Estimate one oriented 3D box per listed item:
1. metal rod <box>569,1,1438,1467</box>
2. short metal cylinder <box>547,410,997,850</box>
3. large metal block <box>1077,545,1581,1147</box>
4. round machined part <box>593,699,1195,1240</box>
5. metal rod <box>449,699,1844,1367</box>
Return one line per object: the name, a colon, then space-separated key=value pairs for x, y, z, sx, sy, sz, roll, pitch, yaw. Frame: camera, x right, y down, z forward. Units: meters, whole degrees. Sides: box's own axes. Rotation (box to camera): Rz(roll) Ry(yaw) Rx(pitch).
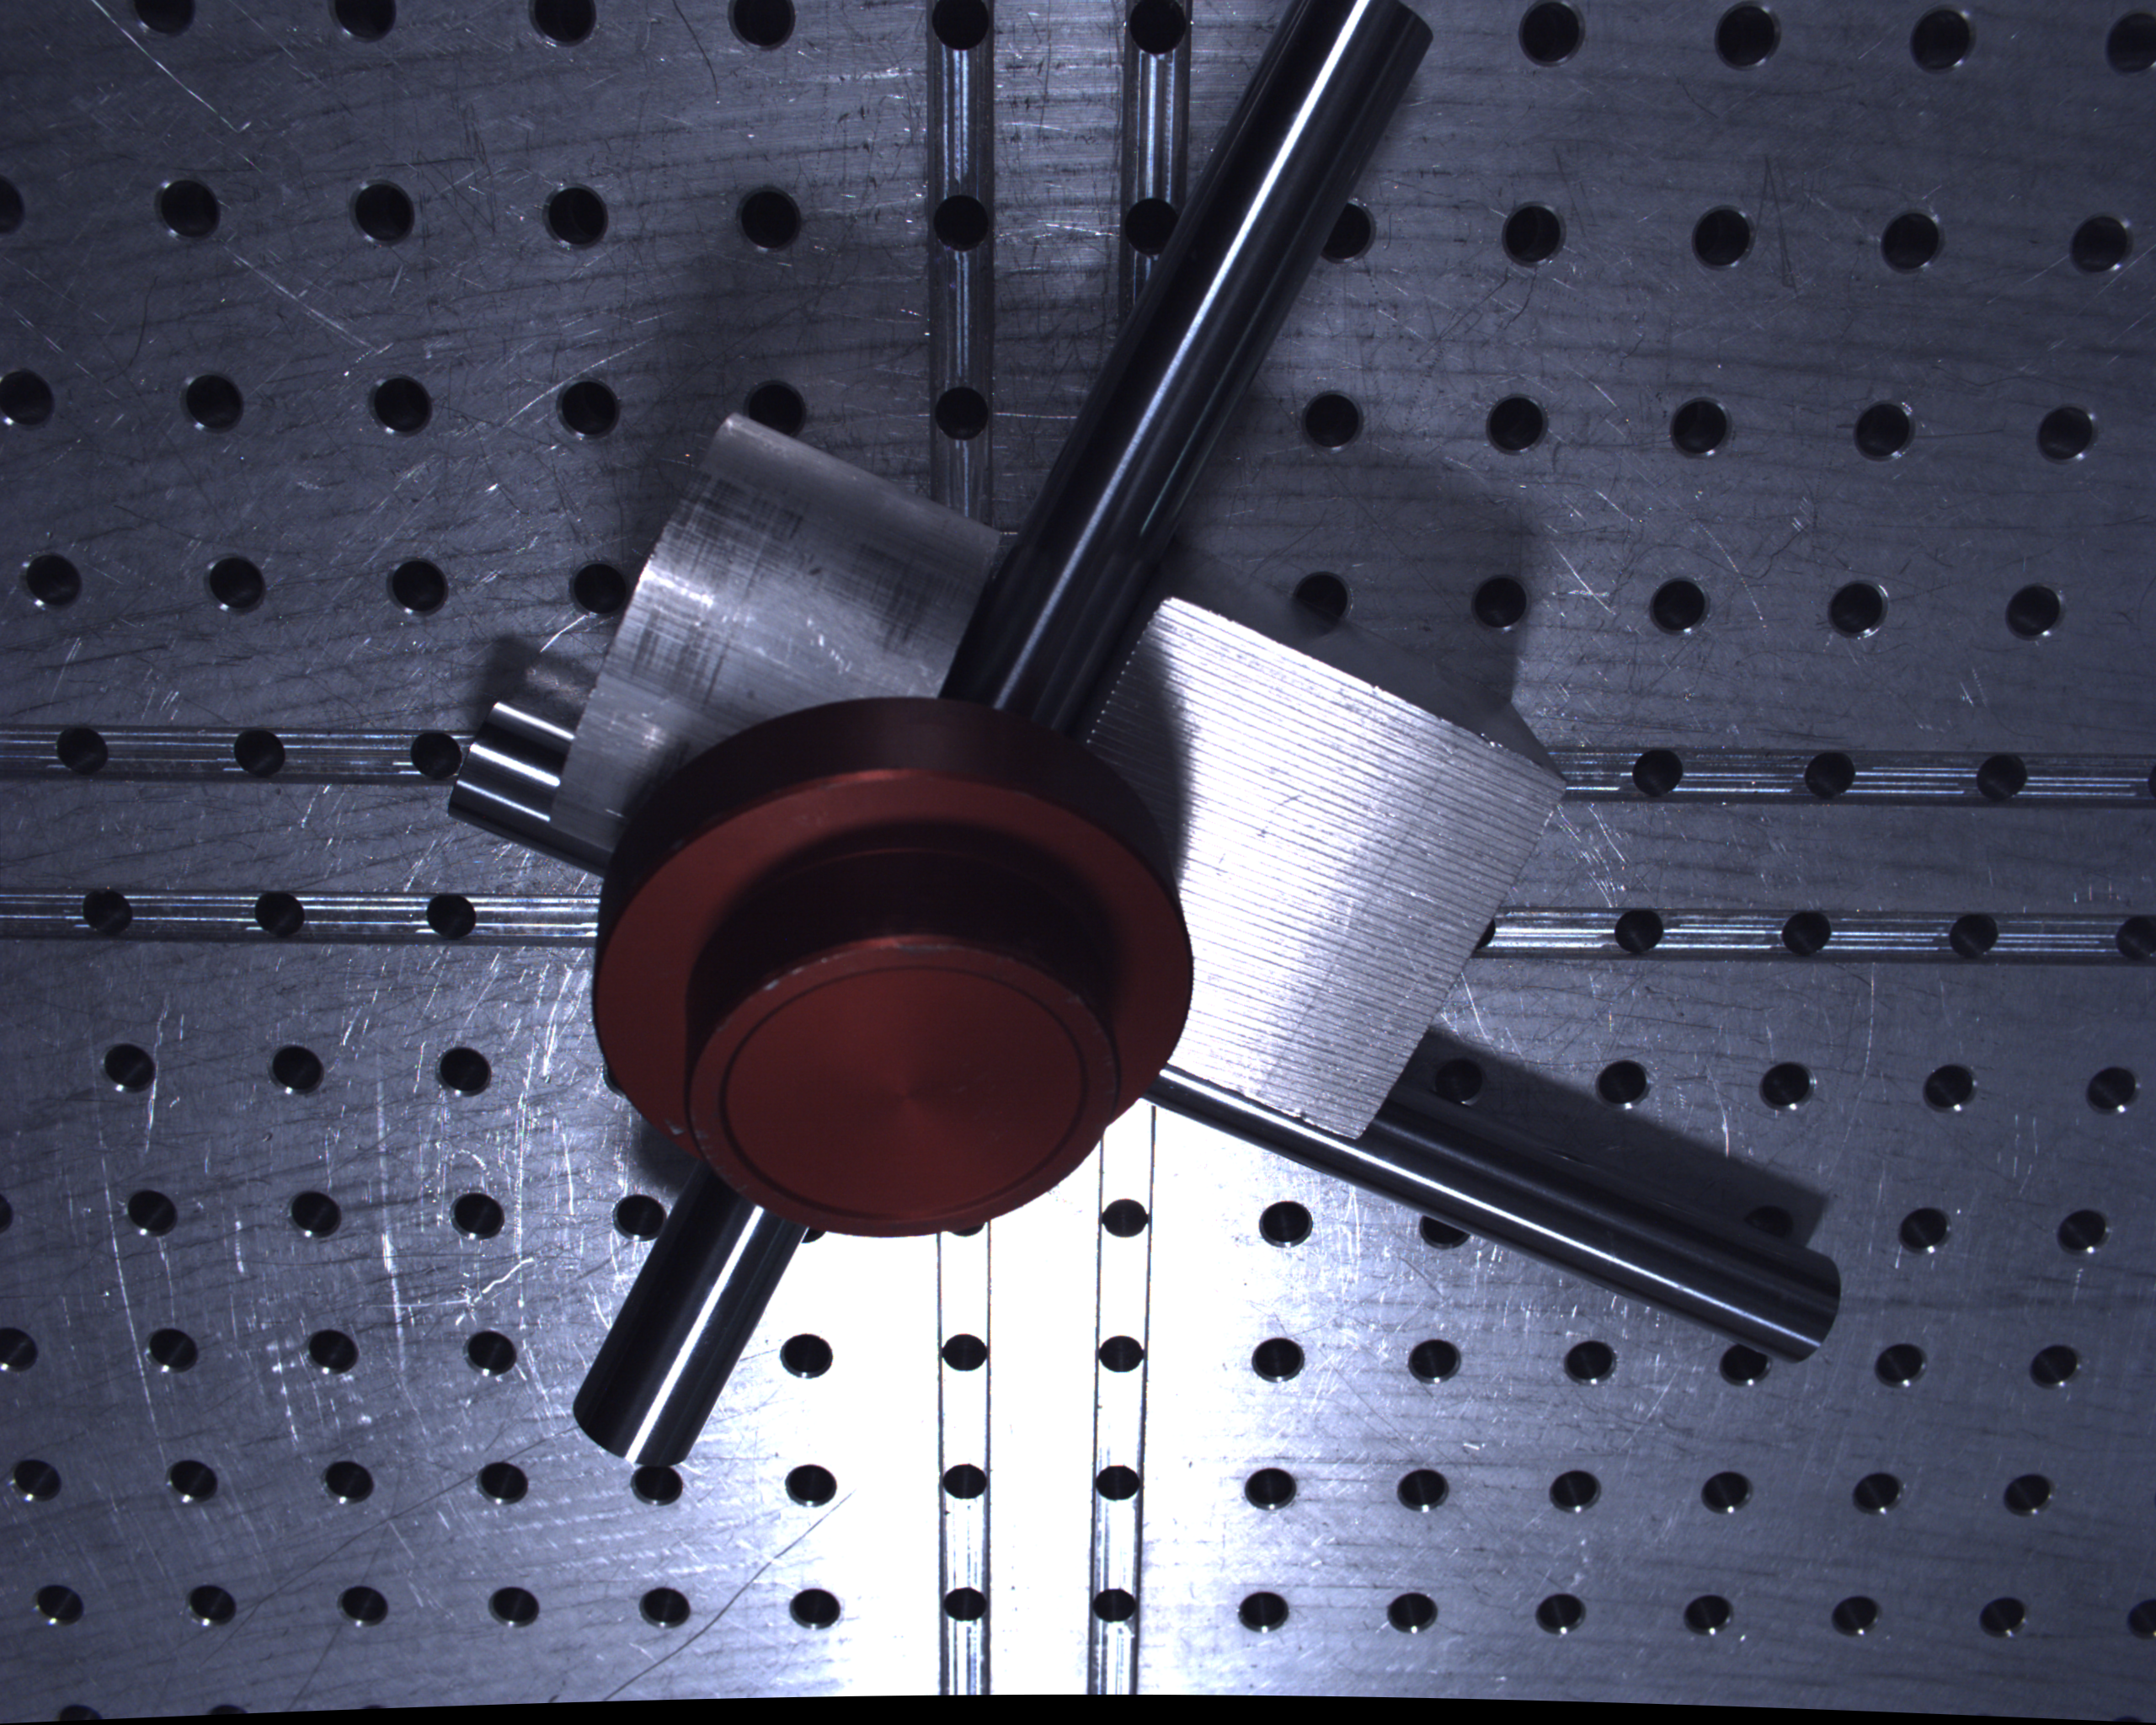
metal rod: x=-0.019 y=-0.018 z=0.386 sx=0.025 sy=0.025 sz=0.298 roll=27 pitch=100 yaw=-10
short metal cylinder: x=-0.054 y=-0.033 z=0.371 sx=0.050 sy=0.080 sz=0.080 roll=24 pitch=108 yaw=-9
large metal block: x=0.034 y=-0.005 z=0.395 sx=0.080 sy=0.050 sz=0.080 roll=24 pitch=108 yaw=-9
round machined part: x=-0.029 y=0.024 z=0.343 sx=0.099 sy=0.042 sz=0.097 roll=-5 pitch=130 yaw=-5
metal rod: x=0.021 y=0.038 z=0.427 sx=0.302 sy=0.025 sz=0.025 roll=23 pitch=108 yaw=-9
